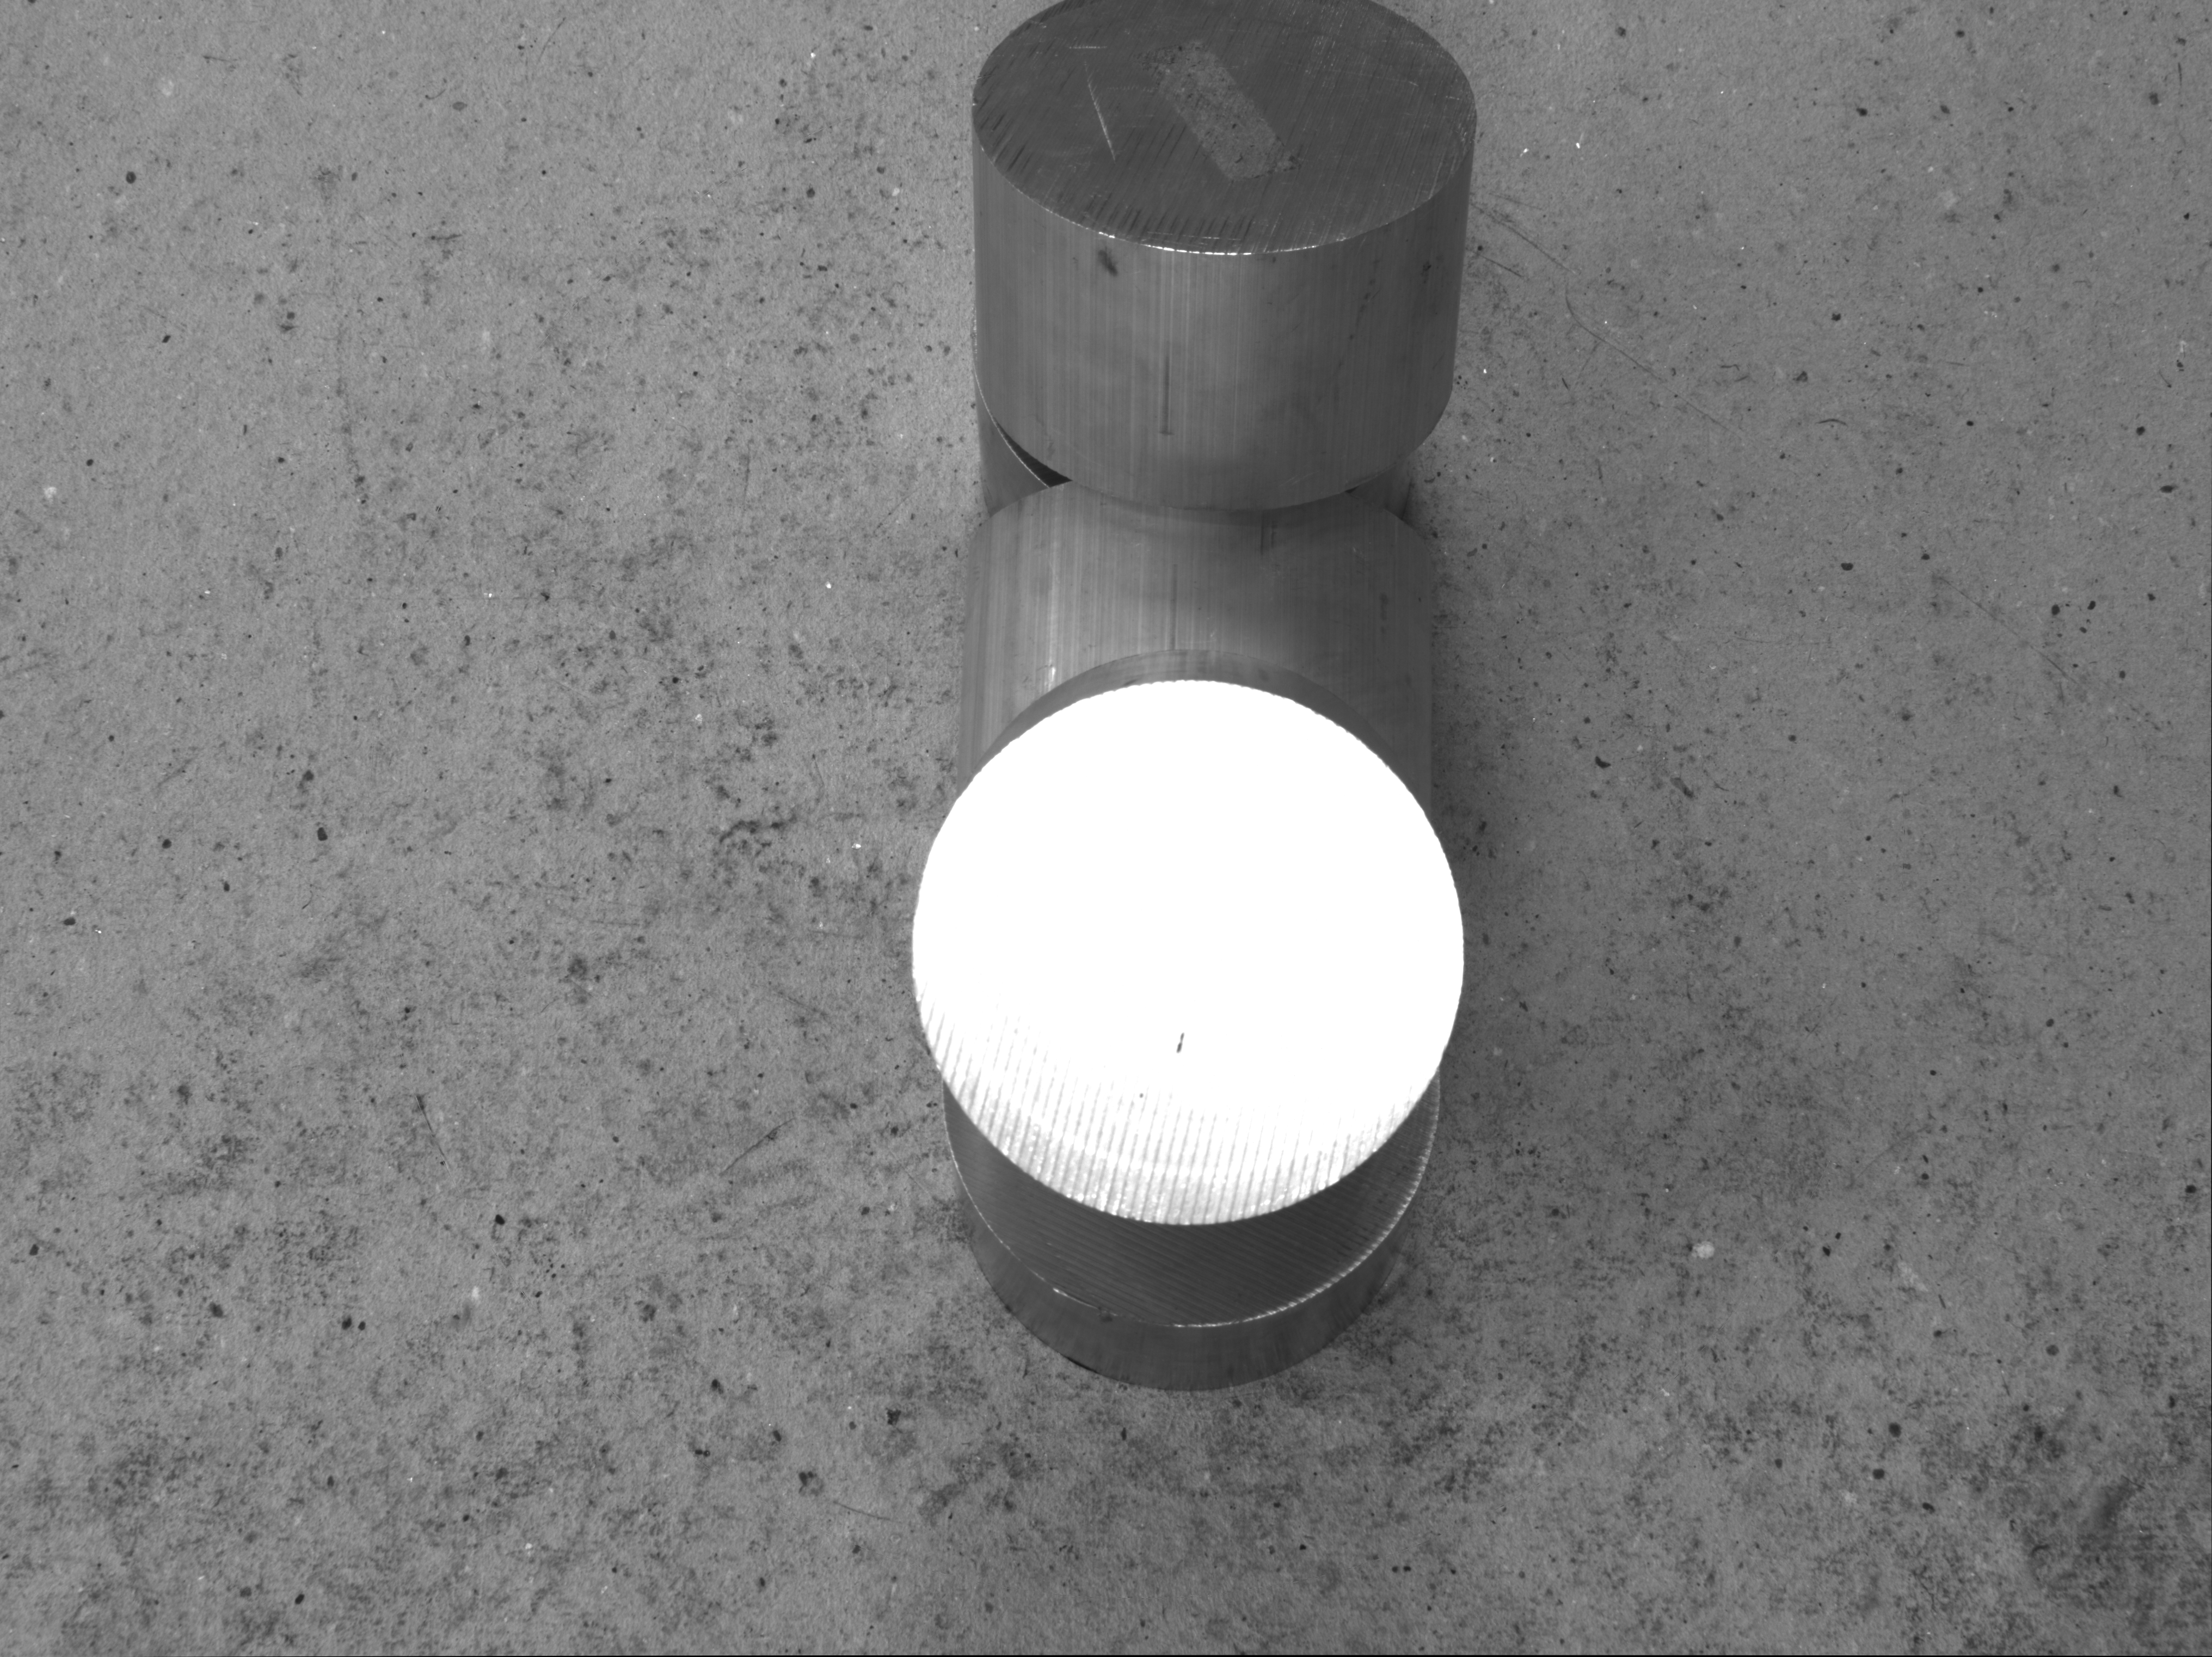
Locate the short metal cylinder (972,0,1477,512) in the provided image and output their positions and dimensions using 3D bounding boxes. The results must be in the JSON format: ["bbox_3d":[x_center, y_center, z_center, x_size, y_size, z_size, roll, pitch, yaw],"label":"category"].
[{"bbox_3d":[0.019,-0.096,0.598,0.080,0.050,0.080,1,44,0],"label":"short metal cylinder"}]

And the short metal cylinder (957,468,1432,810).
[{"bbox_3d":[0.015,-0.021,0.624,0.080,0.080,0.050,1,70,1],"label":"short metal cylinder"}]

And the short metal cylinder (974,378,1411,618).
[{"bbox_3d":[0.016,-0.078,0.661,0.080,0.050,0.080,0,70,0],"label":"short metal cylinder"}]

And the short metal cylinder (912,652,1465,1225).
[{"bbox_3d":[0.013,0.015,0.556,0.080,0.050,0.080,0,98,1],"label":"short metal cylinder"}]

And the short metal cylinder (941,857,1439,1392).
[{"bbox_3d":[0.014,0.050,0.614,0.080,0.050,0.080,0,70,0],"label":"short metal cylinder"}]
